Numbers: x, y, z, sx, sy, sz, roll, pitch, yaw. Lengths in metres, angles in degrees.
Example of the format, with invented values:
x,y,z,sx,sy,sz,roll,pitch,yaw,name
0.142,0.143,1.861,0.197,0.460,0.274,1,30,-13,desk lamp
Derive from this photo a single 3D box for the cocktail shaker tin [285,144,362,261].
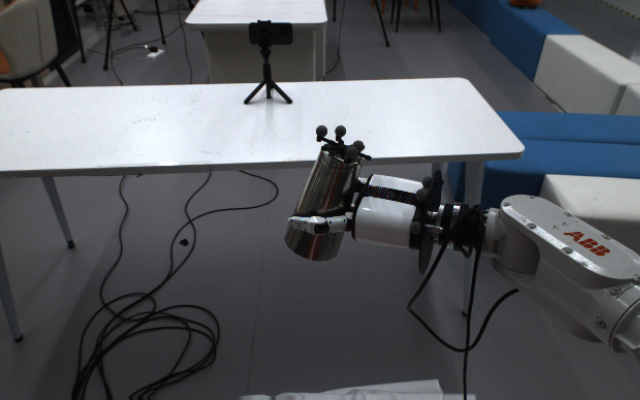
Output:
x,y,z,sx,sy,sz,roll,pitch,yaw,name
0.011,-0.002,0.761,0.093,0.170,0.093,14,27,-8,cocktail shaker tin
